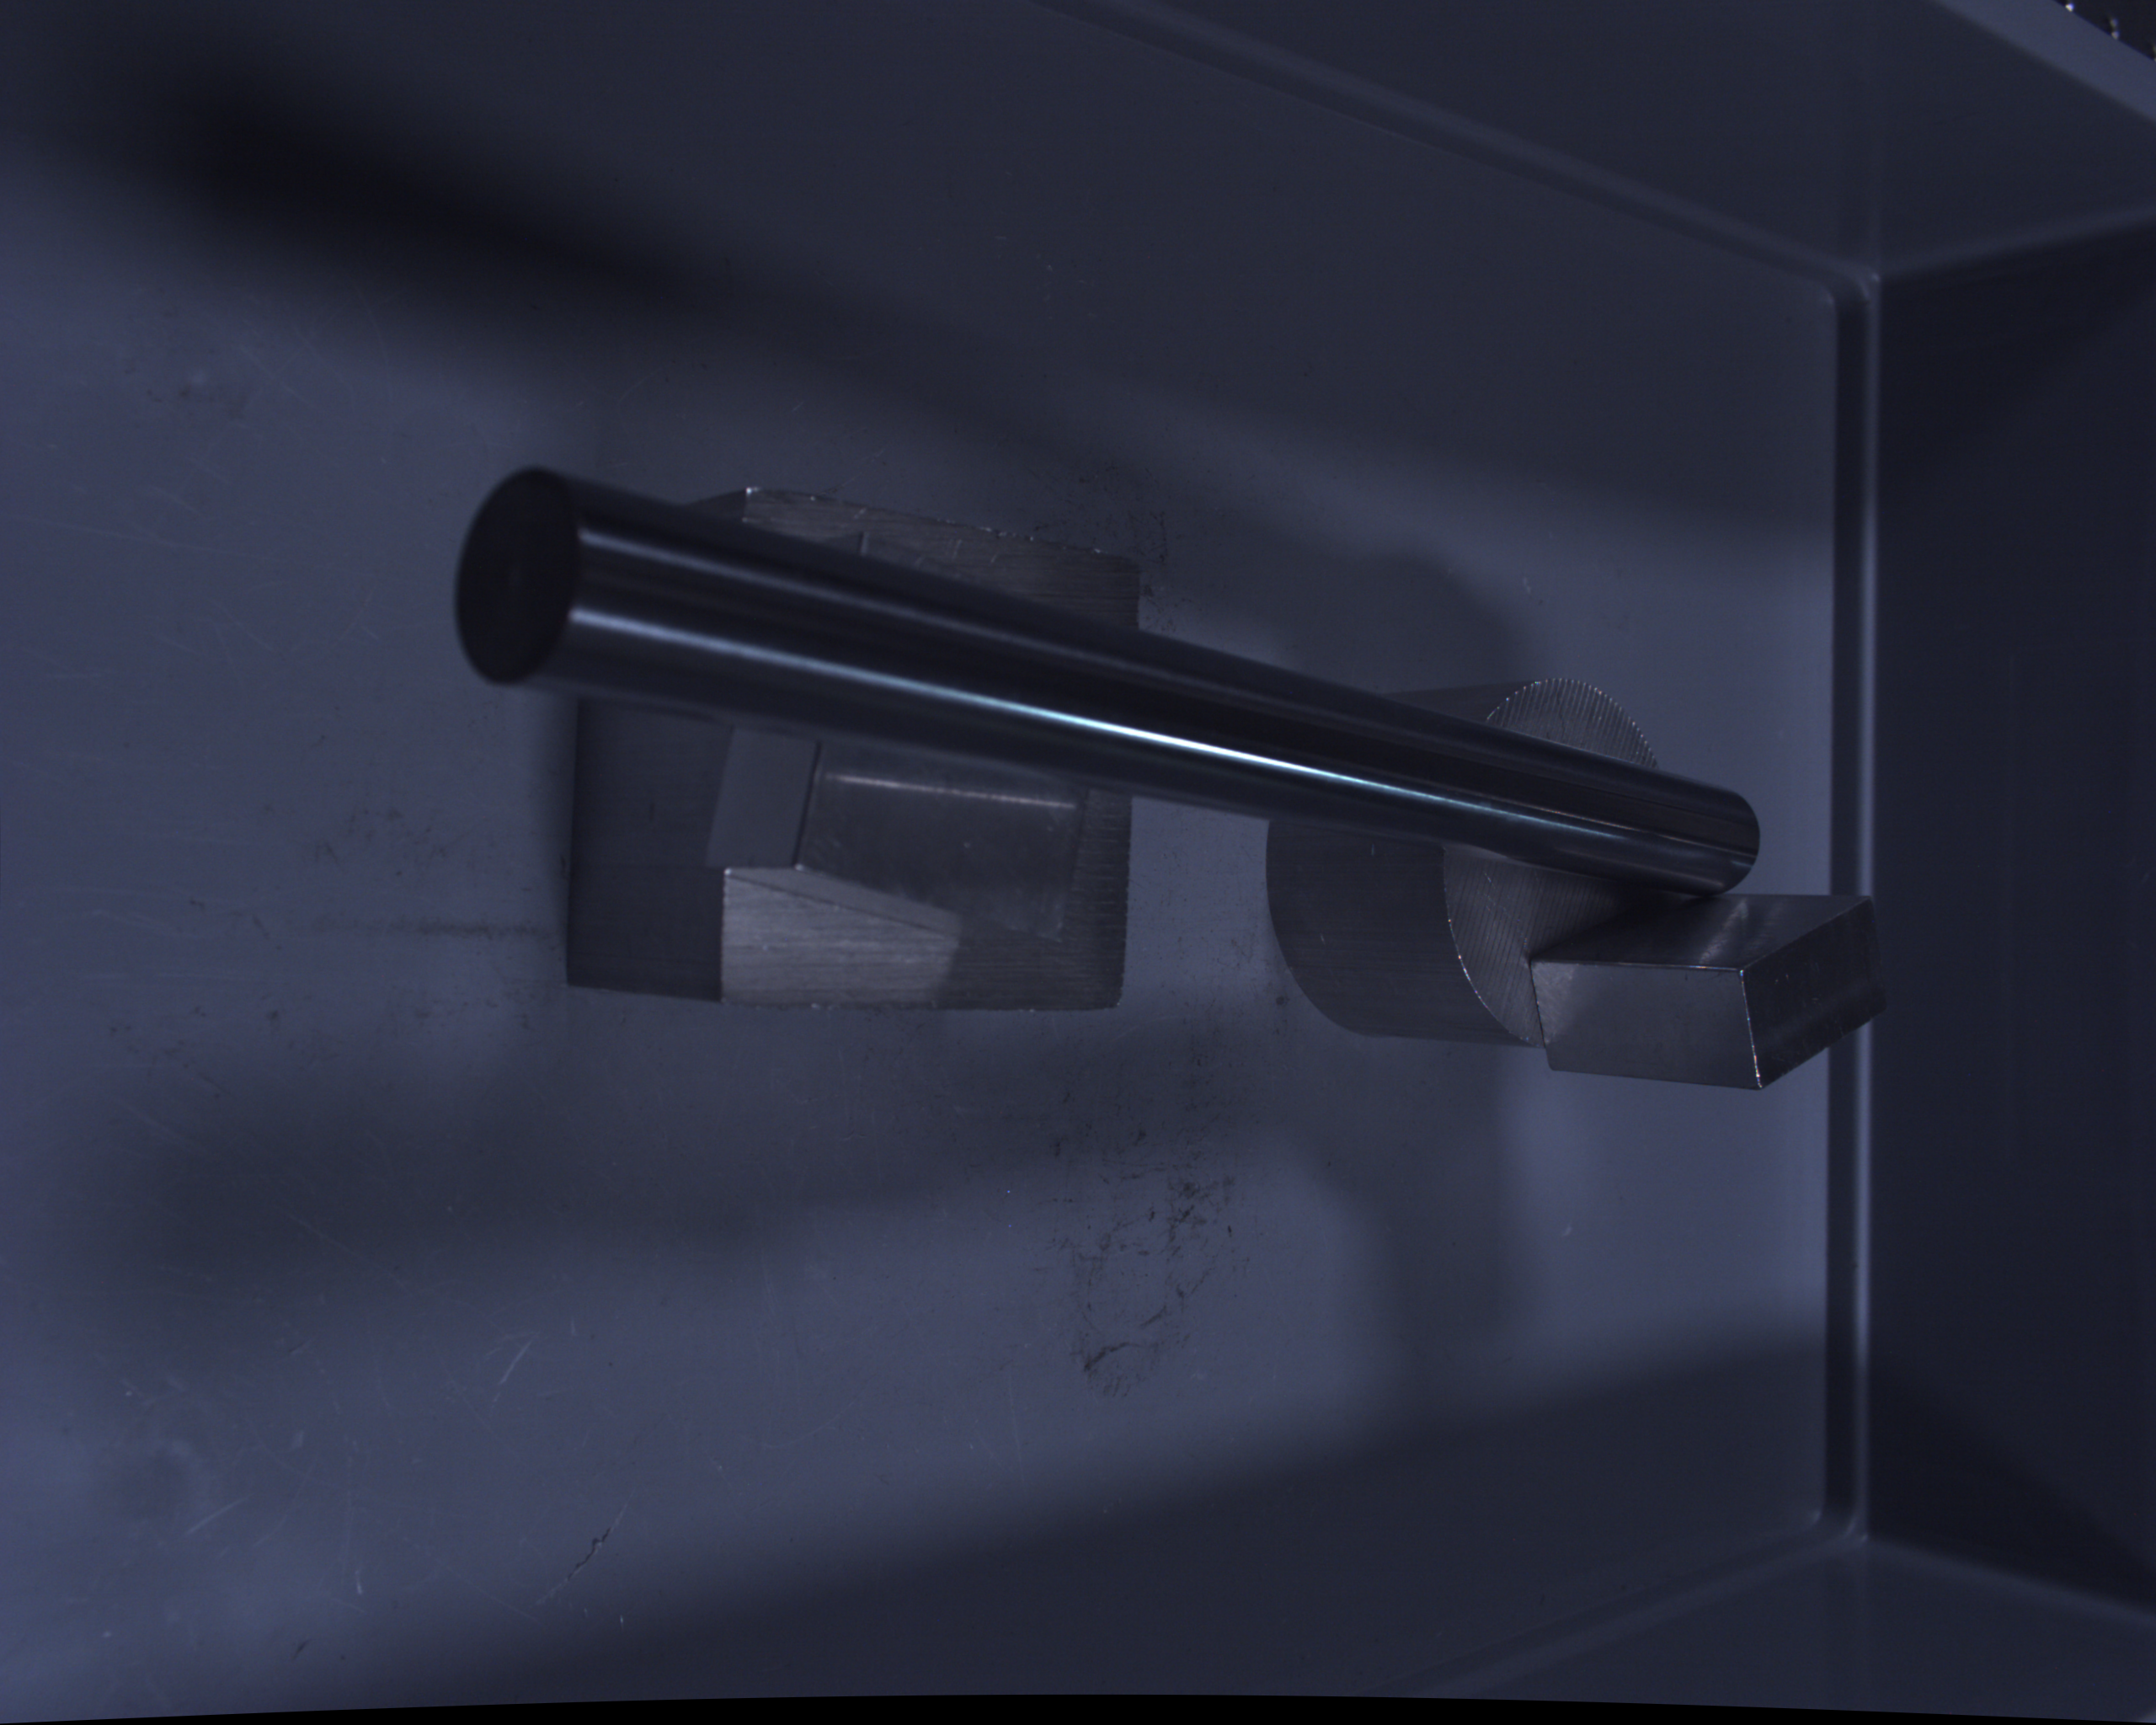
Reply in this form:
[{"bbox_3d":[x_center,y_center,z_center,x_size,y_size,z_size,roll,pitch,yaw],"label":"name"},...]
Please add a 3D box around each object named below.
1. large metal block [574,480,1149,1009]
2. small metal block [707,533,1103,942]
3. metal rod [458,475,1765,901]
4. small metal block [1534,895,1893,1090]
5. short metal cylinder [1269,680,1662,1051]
[{"bbox_3d":[-0.036,-0.016,0.358,0.081,0.050,0.080,3,88,-40],"label":"large metal block"},{"bbox_3d":[-0.024,-0.017,0.321,0.050,0.025,0.050,17,79,-39],"label":"small metal block"},{"bbox_3d":[0.038,-0.017,0.347,0.302,0.025,0.025,8,85,-48],"label":"metal rod"},{"bbox_3d":[0.133,0.026,0.436,0.050,0.050,0.025,-19,102,-39],"label":"small metal block"},{"bbox_3d":[0.089,0.000,0.465,0.081,0.050,0.079,0,90,-40],"label":"short metal cylinder"}]
